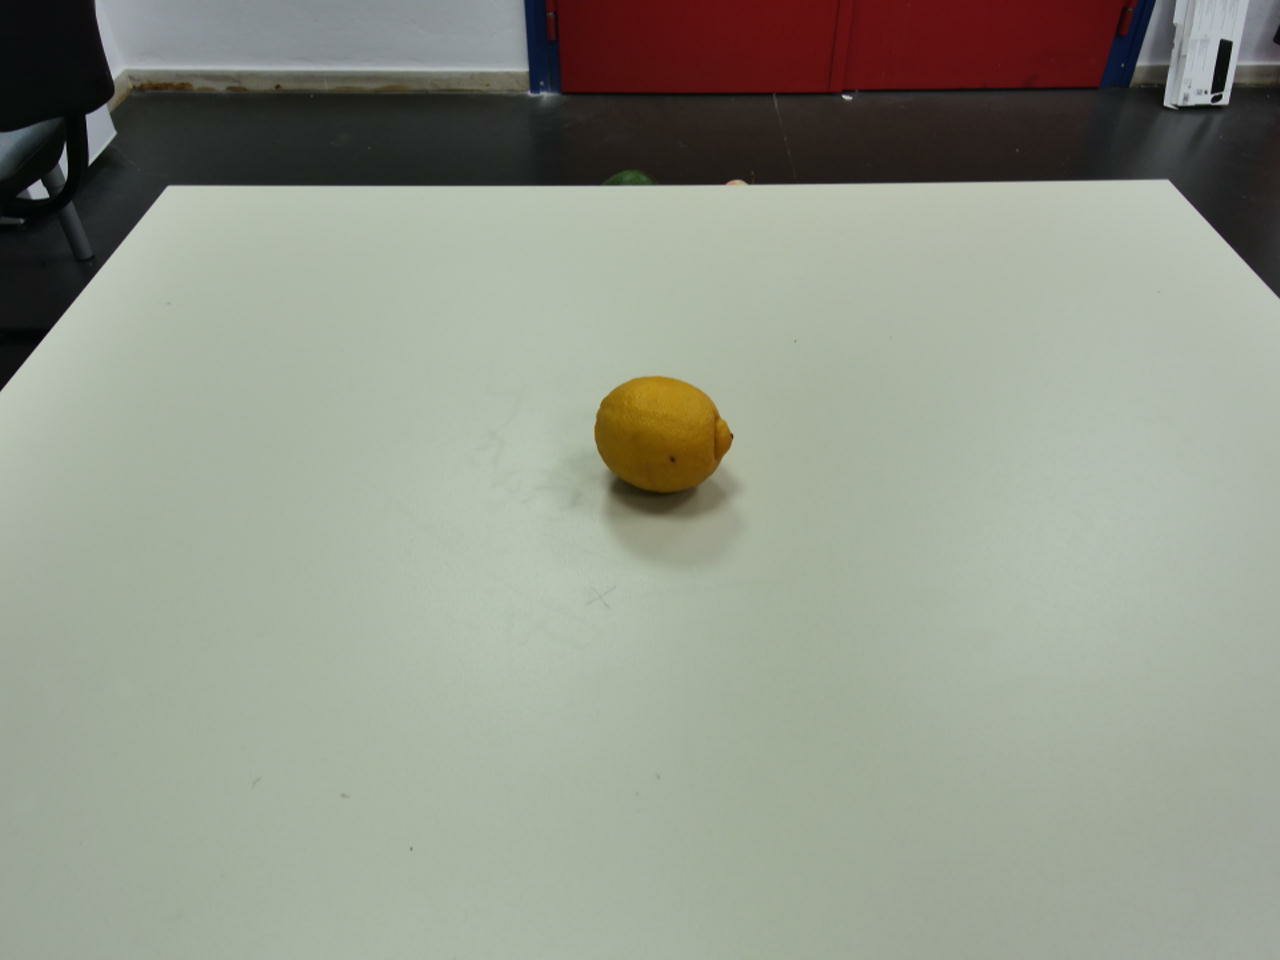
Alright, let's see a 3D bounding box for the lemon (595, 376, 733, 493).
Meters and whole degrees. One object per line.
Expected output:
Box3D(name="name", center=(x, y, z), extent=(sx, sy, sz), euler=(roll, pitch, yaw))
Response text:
Box3D(name="lemon", center=(0.011, -0.023, 0.520), extent=(0.067, 0.059, 0.060), euler=(29, 48, 32))
